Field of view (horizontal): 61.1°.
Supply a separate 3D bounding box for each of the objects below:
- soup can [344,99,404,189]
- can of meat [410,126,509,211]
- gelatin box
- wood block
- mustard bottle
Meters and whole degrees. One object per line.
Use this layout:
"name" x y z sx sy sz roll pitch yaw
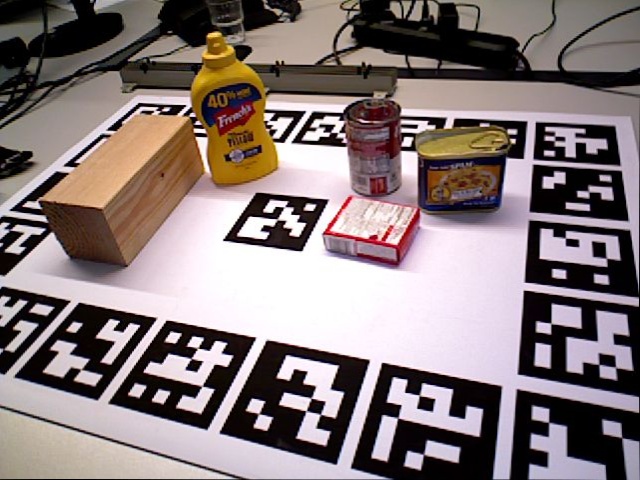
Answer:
"soup can" 0.067 -0.122 0.652 0.068 0.104 0.067 -6 42 4
"can of meat" 0.154 -0.082 0.618 0.102 0.085 0.056 -1 41 6
"gelatin box" 0.056 -0.014 0.593 0.090 0.031 0.071 13 47 27
"wood block" -0.242 -0.071 0.678 0.091 0.092 0.201 9 39 17
"mustard bottle" -0.123 -0.163 0.688 0.096 0.195 0.057 -9 40 -3
